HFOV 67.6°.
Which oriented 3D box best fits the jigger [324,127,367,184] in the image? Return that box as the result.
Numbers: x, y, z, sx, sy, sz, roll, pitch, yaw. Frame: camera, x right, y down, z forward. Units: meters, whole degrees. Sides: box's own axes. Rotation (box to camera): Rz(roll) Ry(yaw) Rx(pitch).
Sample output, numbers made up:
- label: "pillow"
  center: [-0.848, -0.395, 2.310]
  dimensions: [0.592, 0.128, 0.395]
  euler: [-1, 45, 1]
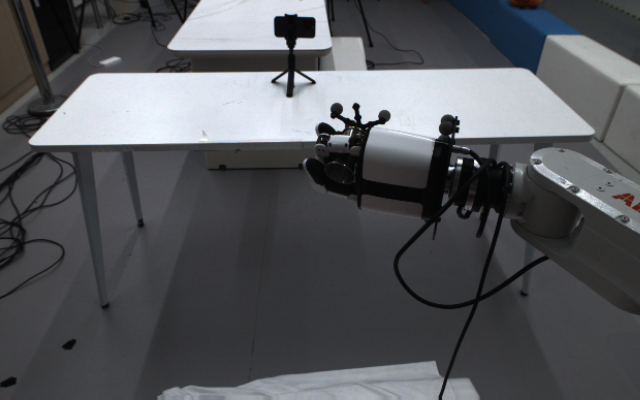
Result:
- label: "jigger"
  center: [0.040, -0.061, 0.653]
  dimensions: [0.043, 0.043, 0.071]
  euler: [13, 58, 16]
